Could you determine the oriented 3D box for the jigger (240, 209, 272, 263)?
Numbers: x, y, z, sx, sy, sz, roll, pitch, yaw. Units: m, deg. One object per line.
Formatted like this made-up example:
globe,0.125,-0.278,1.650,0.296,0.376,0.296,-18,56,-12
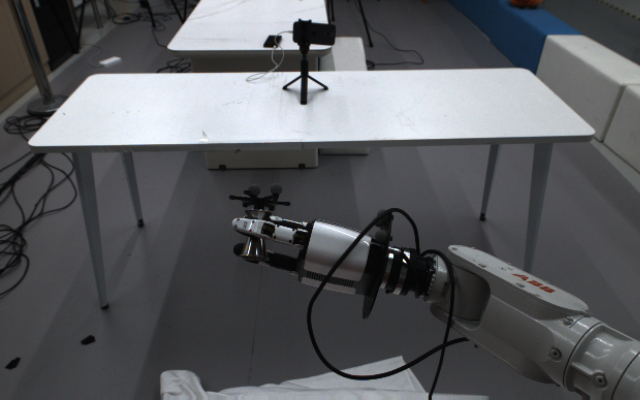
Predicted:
jigger,-0.093,0.049,0.695,0.043,0.043,0.071,3,75,2
